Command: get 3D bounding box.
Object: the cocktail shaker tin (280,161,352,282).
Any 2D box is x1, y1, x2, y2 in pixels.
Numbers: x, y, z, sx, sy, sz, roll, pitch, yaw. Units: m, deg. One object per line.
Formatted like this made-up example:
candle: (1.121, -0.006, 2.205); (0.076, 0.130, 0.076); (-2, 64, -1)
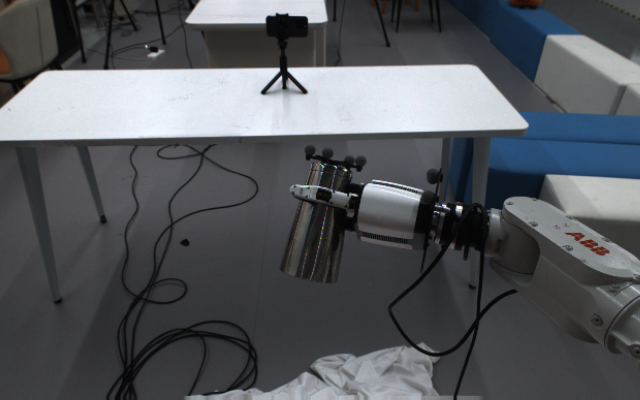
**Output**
cocktail shaker tin: (0.003, 0.029, 0.744); (0.093, 0.170, 0.093); (13, 1, 0)
